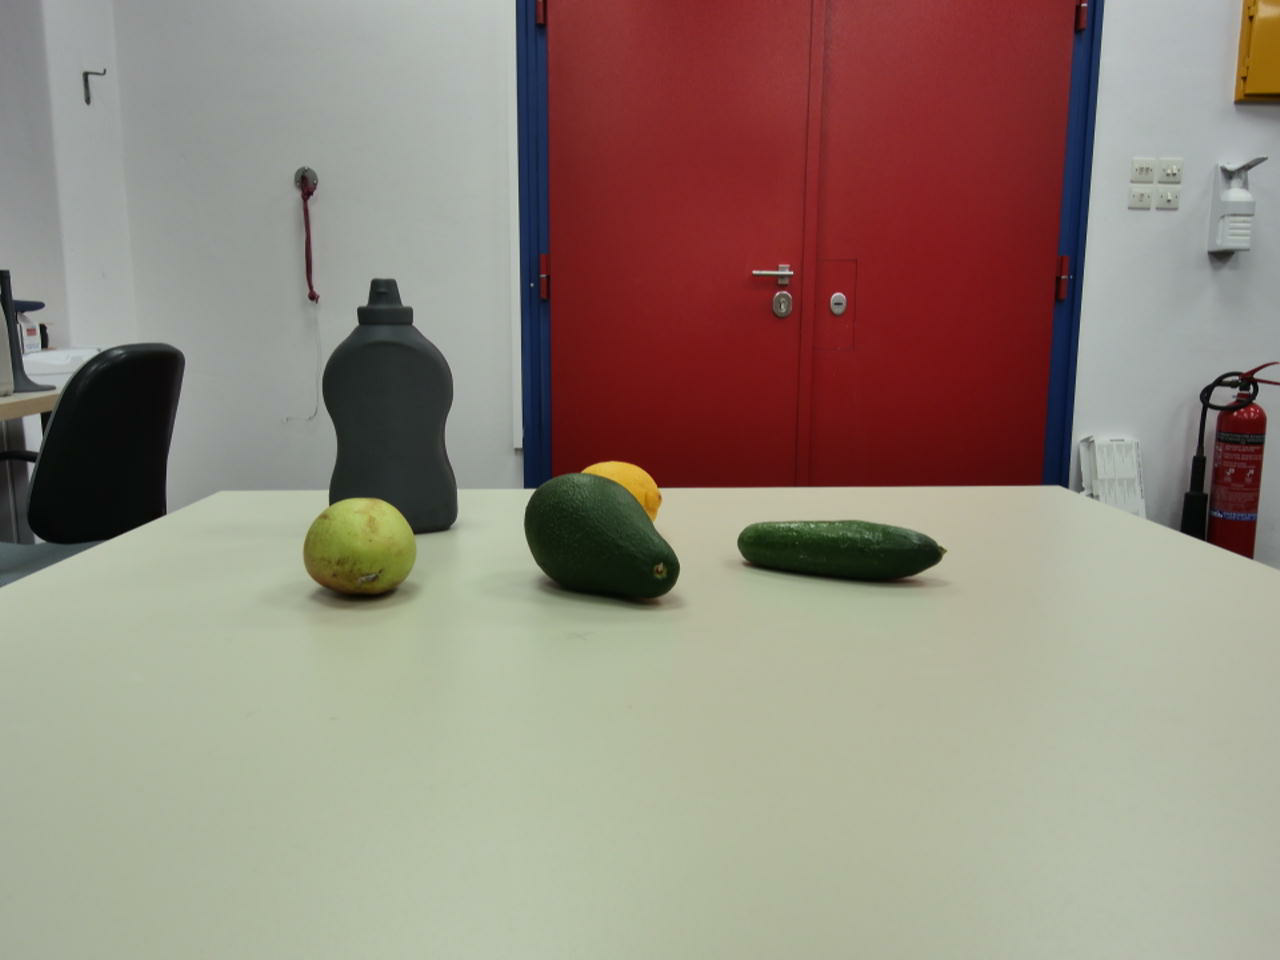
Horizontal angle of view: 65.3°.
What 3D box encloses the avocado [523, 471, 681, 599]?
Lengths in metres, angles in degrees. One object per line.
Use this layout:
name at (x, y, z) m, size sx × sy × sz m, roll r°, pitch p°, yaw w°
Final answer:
avocado at (-0.027, 0.032, 0.597) m, size 0.072 × 0.071 × 0.110 m, roll -3°, pitch 8°, yaw -23°
